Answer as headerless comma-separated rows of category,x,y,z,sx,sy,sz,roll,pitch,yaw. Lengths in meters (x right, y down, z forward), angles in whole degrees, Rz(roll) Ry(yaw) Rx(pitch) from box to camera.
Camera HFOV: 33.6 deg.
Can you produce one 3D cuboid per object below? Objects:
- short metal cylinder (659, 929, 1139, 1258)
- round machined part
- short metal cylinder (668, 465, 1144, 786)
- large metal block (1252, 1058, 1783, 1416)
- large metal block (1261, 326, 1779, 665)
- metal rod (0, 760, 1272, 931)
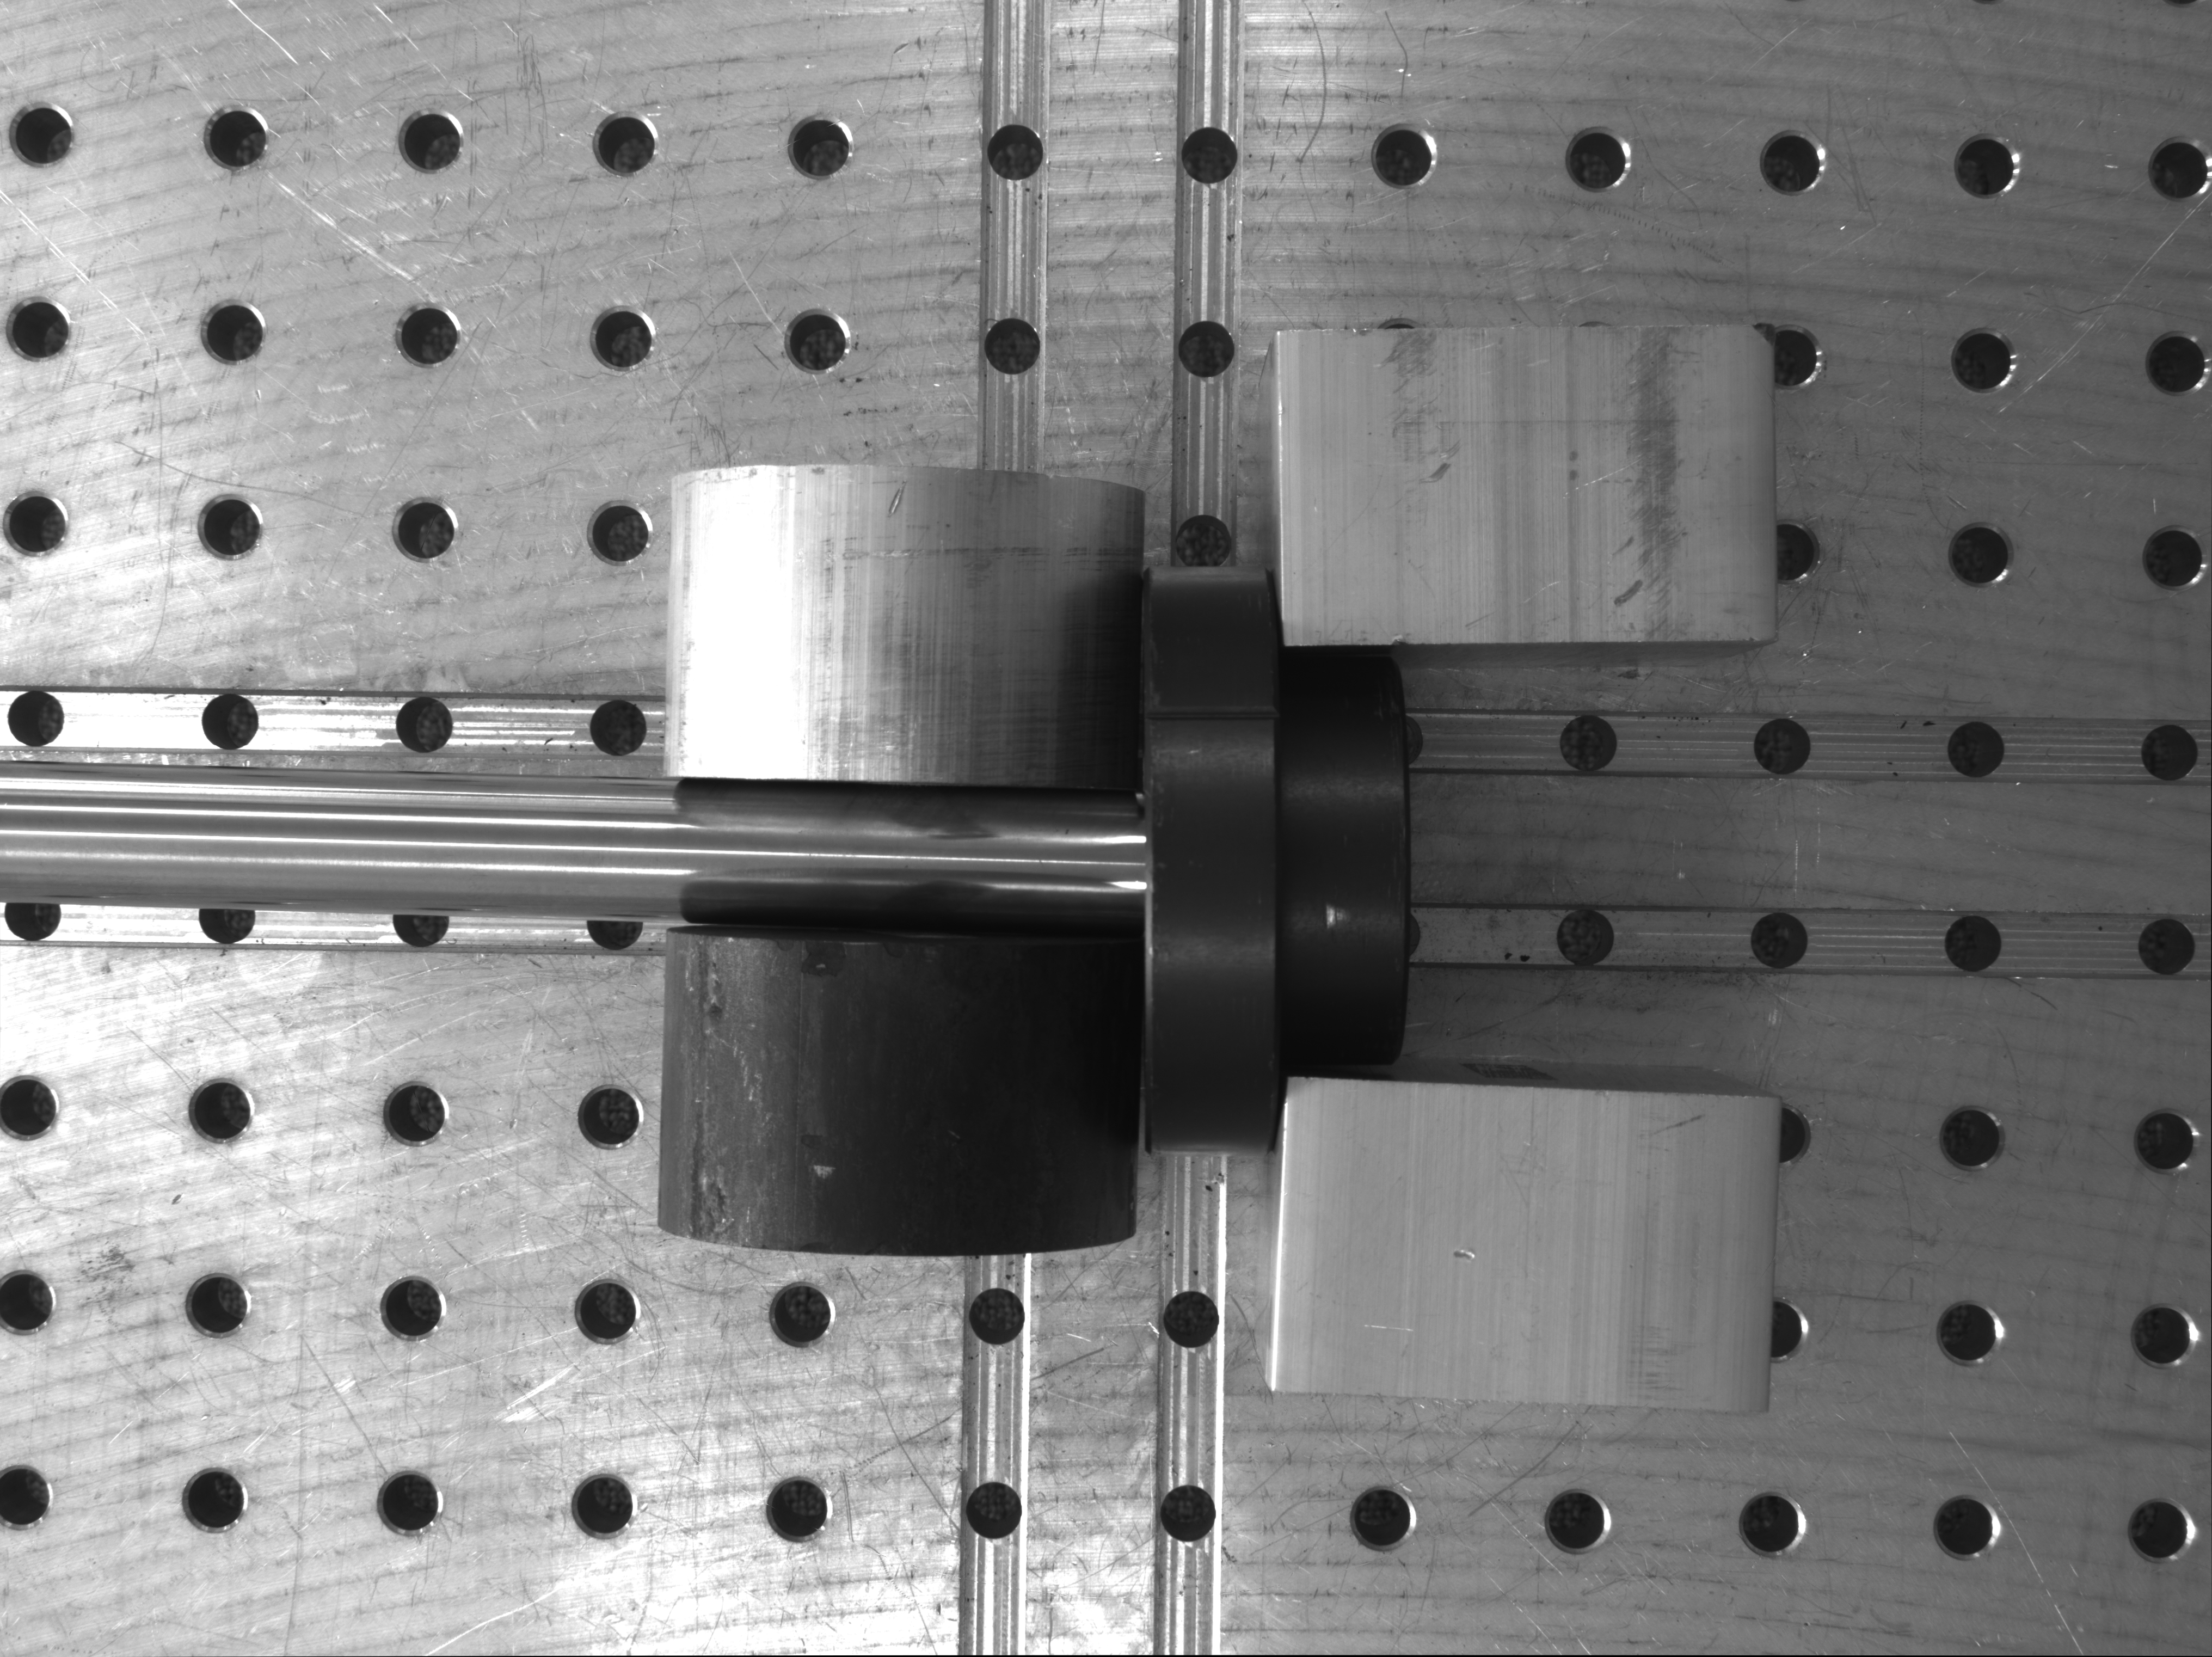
short metal cylinder,-0.035,0.043,0.619,0.080,0.080,0.050,1,90,0
round machined part,0.028,0.006,0.611,0.042,0.098,0.098,1,90,0
short metal cylinder,-0.034,-0.033,0.620,0.080,0.080,0.050,1,90,0
large metal block,0.066,0.066,0.621,0.080,0.080,0.050,3,90,0
large metal block,0.067,-0.054,0.621,0.080,0.080,0.050,0,90,0
metal rod,-0.116,0.003,0.636,0.300,0.025,0.025,2,90,4
